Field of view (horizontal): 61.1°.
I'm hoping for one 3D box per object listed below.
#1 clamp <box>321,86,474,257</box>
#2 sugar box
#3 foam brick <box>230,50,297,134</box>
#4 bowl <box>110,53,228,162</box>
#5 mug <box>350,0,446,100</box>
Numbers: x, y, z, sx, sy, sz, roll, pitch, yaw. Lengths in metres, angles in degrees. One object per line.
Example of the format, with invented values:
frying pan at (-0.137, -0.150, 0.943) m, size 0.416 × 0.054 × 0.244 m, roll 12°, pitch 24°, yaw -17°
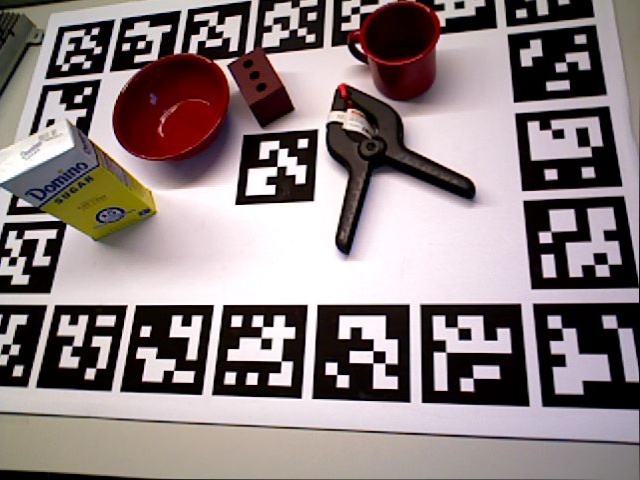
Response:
clamp at (0.058, -0.099, 0.628) m, size 0.165 × 0.037 × 0.201 m, roll -25°, pitch 68°, yaw 5°
sugar box at (-0.276, -0.055, 0.620) m, size 0.093 × 0.178 × 0.045 m, roll -25°, pitch 68°, yaw 0°
foam brick at (-0.072, -0.188, 0.695) m, size 0.053 × 0.052 × 0.077 m, roll -28°, pitch 68°, yaw 2°
bowl at (-0.188, -0.161, 0.704) m, size 0.162 × 0.055 × 0.160 m, roll -4°, pitch 70°, yaw 10°
mug at (0.091, -0.227, 0.646) m, size 0.117 × 0.082 × 0.092 m, roll 24°, pitch 76°, yaw 16°
